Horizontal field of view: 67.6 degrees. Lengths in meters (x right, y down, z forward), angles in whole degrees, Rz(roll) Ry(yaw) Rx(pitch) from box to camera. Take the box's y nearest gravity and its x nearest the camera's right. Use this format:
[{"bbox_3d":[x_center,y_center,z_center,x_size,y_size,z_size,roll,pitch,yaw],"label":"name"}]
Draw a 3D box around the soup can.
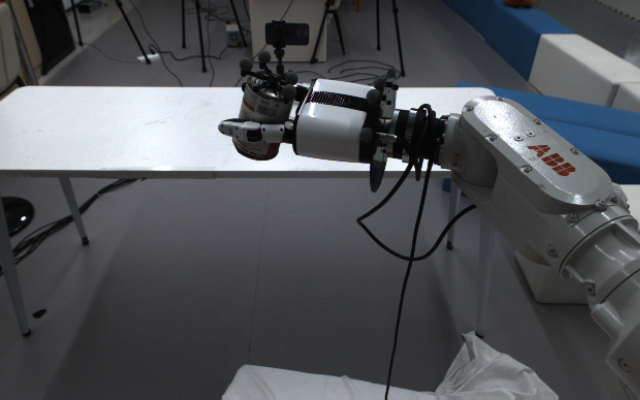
[{"bbox_3d":[-0.077,-0.113,0.659,0.067,0.101,0.067,14,40,-12],"label":"soup can"}]
